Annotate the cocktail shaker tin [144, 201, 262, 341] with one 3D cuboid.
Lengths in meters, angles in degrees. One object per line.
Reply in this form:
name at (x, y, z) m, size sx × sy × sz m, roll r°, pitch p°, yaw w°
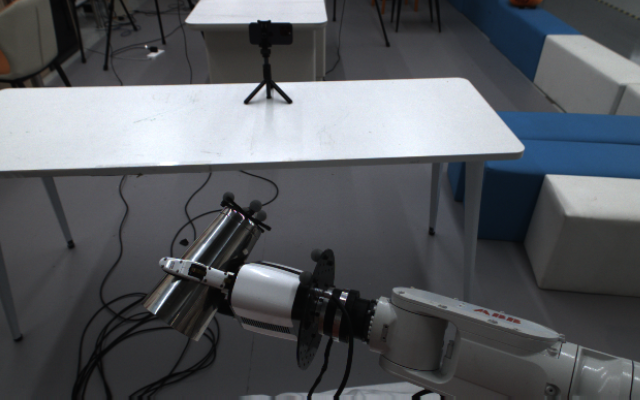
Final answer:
cocktail shaker tin at (-0.157, 0.094, 0.674) m, size 0.093 × 0.093 × 0.170 m, roll 24°, pitch 70°, yaw 29°
